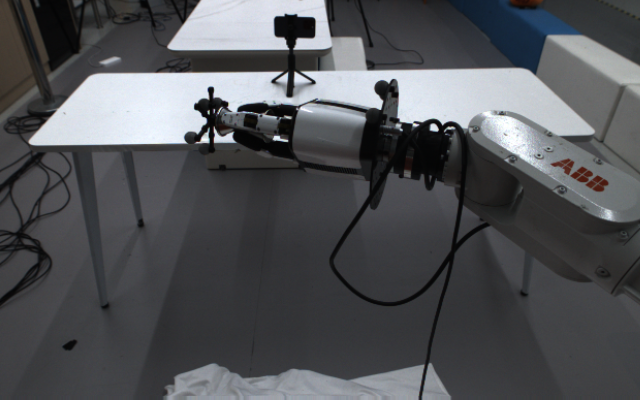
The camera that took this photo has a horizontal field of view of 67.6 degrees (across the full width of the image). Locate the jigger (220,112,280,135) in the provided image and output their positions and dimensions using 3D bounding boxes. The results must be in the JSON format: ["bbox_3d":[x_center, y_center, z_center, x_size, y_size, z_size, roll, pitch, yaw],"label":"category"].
[{"bbox_3d":[-0.092,-0.104,0.636,0.071,0.043,0.043,8,35,16],"label":"jigger"}]
